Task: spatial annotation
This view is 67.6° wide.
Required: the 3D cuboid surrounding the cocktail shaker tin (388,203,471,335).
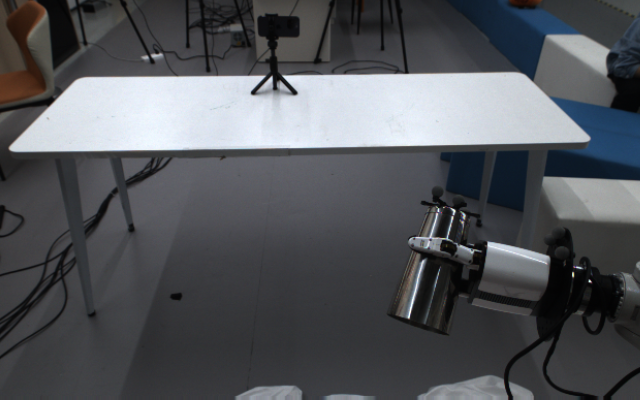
[{"bbox_3d":[0.166,0.098,0.702,0.093,0.093,0.170,15,74,18],"label":"cocktail shaker tin"}]
